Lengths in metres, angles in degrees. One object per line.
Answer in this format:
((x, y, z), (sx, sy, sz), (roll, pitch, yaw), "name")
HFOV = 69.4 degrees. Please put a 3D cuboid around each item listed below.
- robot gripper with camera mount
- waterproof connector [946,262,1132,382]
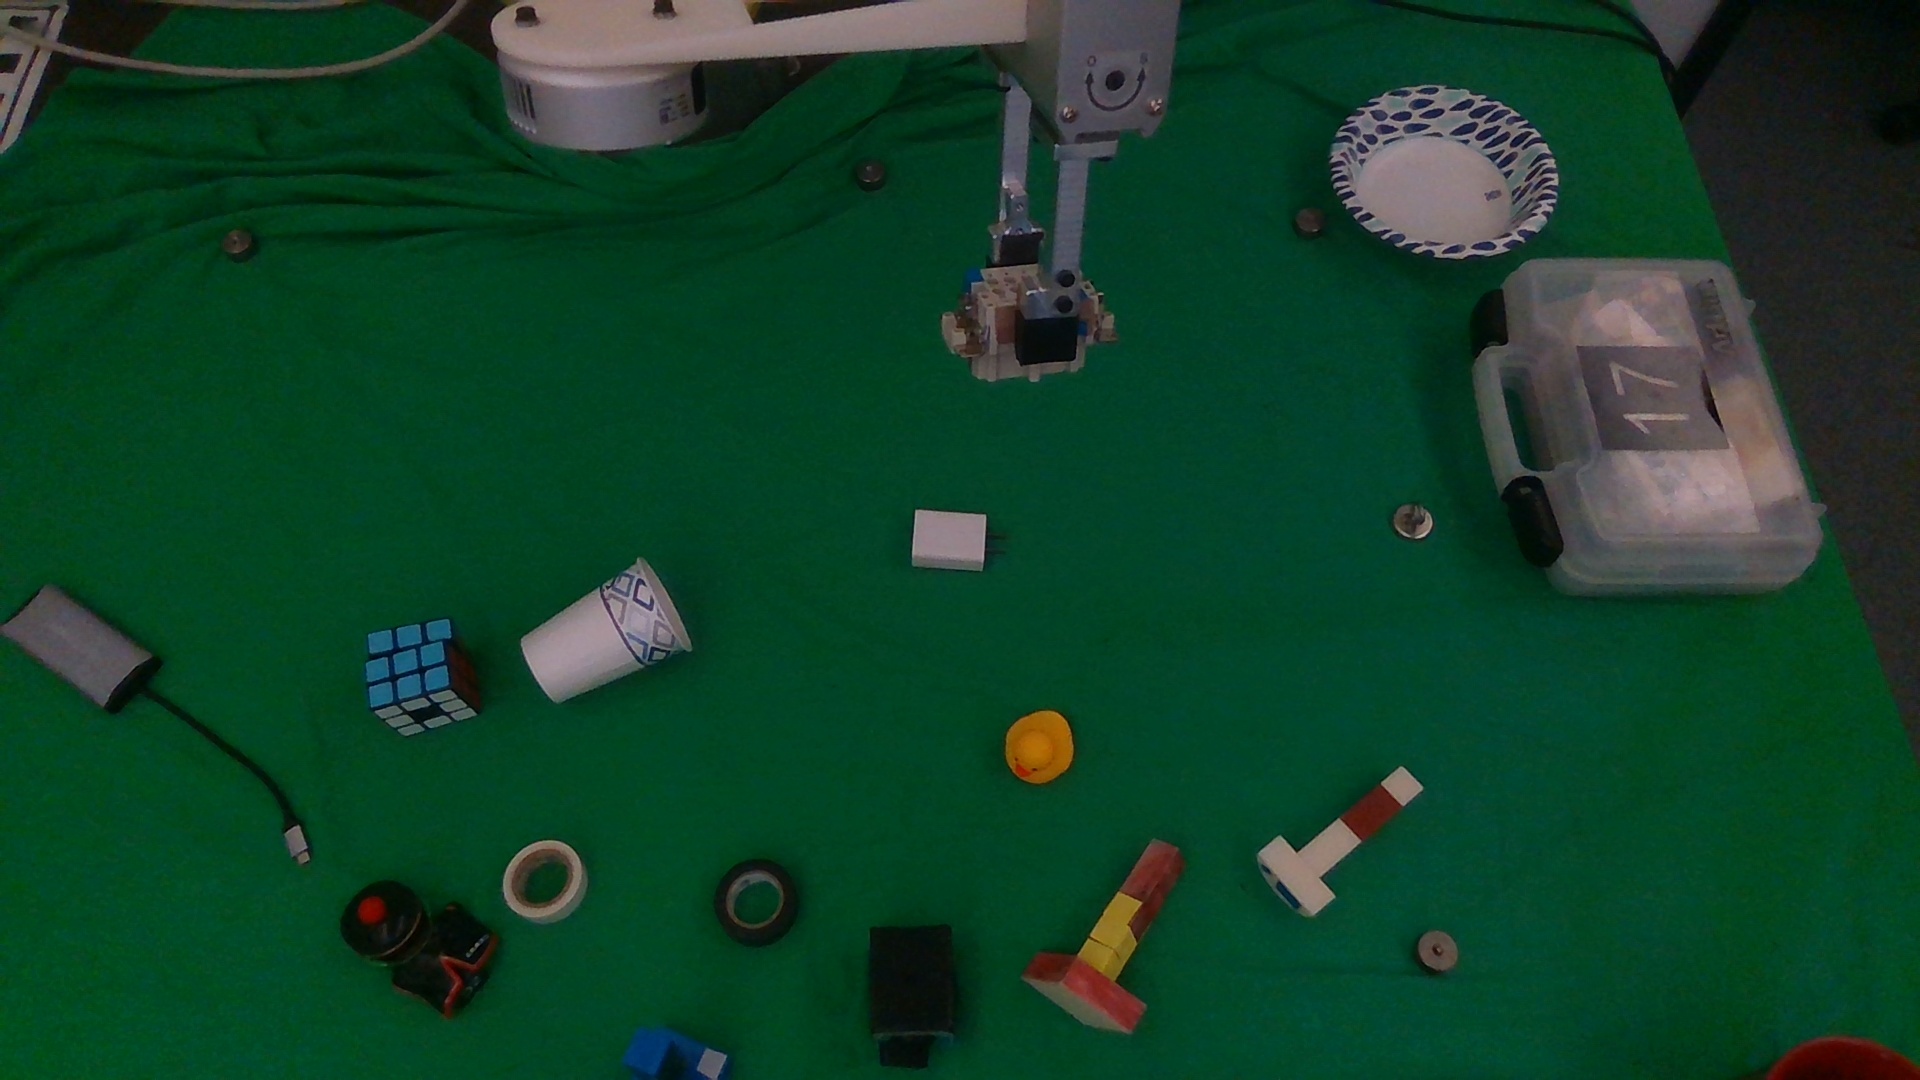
((-0.046, -0.129, 0.456), (0.193, 0.158, 0.119), (-9, 39, -14), "robot gripper with camera mount")
((0.030, -0.081, 0.523), (0.065, 0.037, 0.035), (-7, 34, -17), "waterproof connector")
